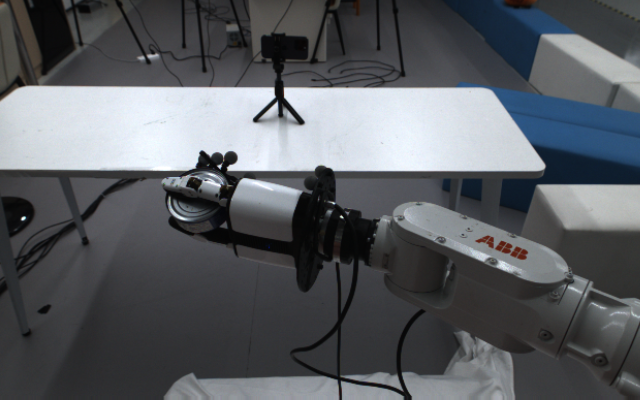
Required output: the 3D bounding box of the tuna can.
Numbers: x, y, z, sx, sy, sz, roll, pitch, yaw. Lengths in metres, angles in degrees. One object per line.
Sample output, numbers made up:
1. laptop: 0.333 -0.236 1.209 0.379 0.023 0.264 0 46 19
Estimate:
1. tuna can: -0.158 0.000 0.647 0.085 0.034 0.085 -4 56 6
